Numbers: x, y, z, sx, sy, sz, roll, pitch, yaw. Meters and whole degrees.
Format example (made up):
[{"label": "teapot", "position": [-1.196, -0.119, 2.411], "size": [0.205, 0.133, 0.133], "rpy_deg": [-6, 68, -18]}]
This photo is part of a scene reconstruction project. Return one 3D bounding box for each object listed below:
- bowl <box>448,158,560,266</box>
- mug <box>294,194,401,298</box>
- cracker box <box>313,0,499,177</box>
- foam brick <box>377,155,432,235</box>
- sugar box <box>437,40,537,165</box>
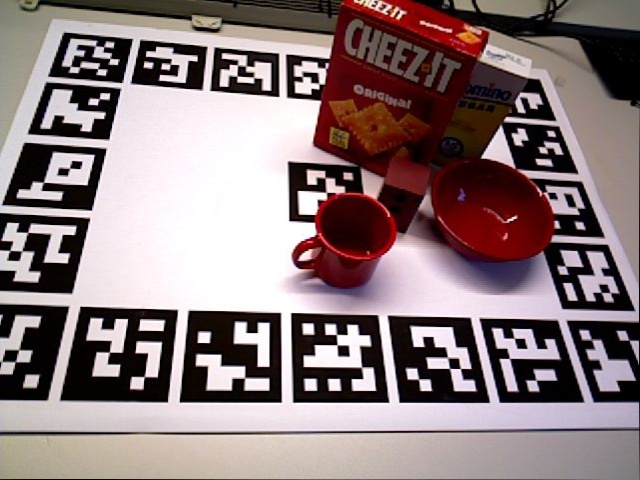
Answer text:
[{"label": "bowl", "position": [0.224, -0.024, 0.671], "size": [0.160, 0.056, 0.159], "rpy_deg": [5, 56, -8]}, {"label": "mug", "position": [0.028, 0.011, 0.603], "size": [0.116, 0.083, 0.092], "rpy_deg": [-5, 49, -12]}, {"label": "cracker box", "position": [0.093, -0.180, 0.669], "size": [0.164, 0.219, 0.070], "rpy_deg": [28, 52, 8]}, {"label": "foam brick", "position": [0.102, -0.055, 0.674], "size": [0.052, 0.080, 0.050], "rpy_deg": [15, 53, 1]}, {"label": "sugar box", "position": [0.198, -0.174, 0.706], "size": [0.092, 0.180, 0.044], "rpy_deg": [20, 54, 4]}]
